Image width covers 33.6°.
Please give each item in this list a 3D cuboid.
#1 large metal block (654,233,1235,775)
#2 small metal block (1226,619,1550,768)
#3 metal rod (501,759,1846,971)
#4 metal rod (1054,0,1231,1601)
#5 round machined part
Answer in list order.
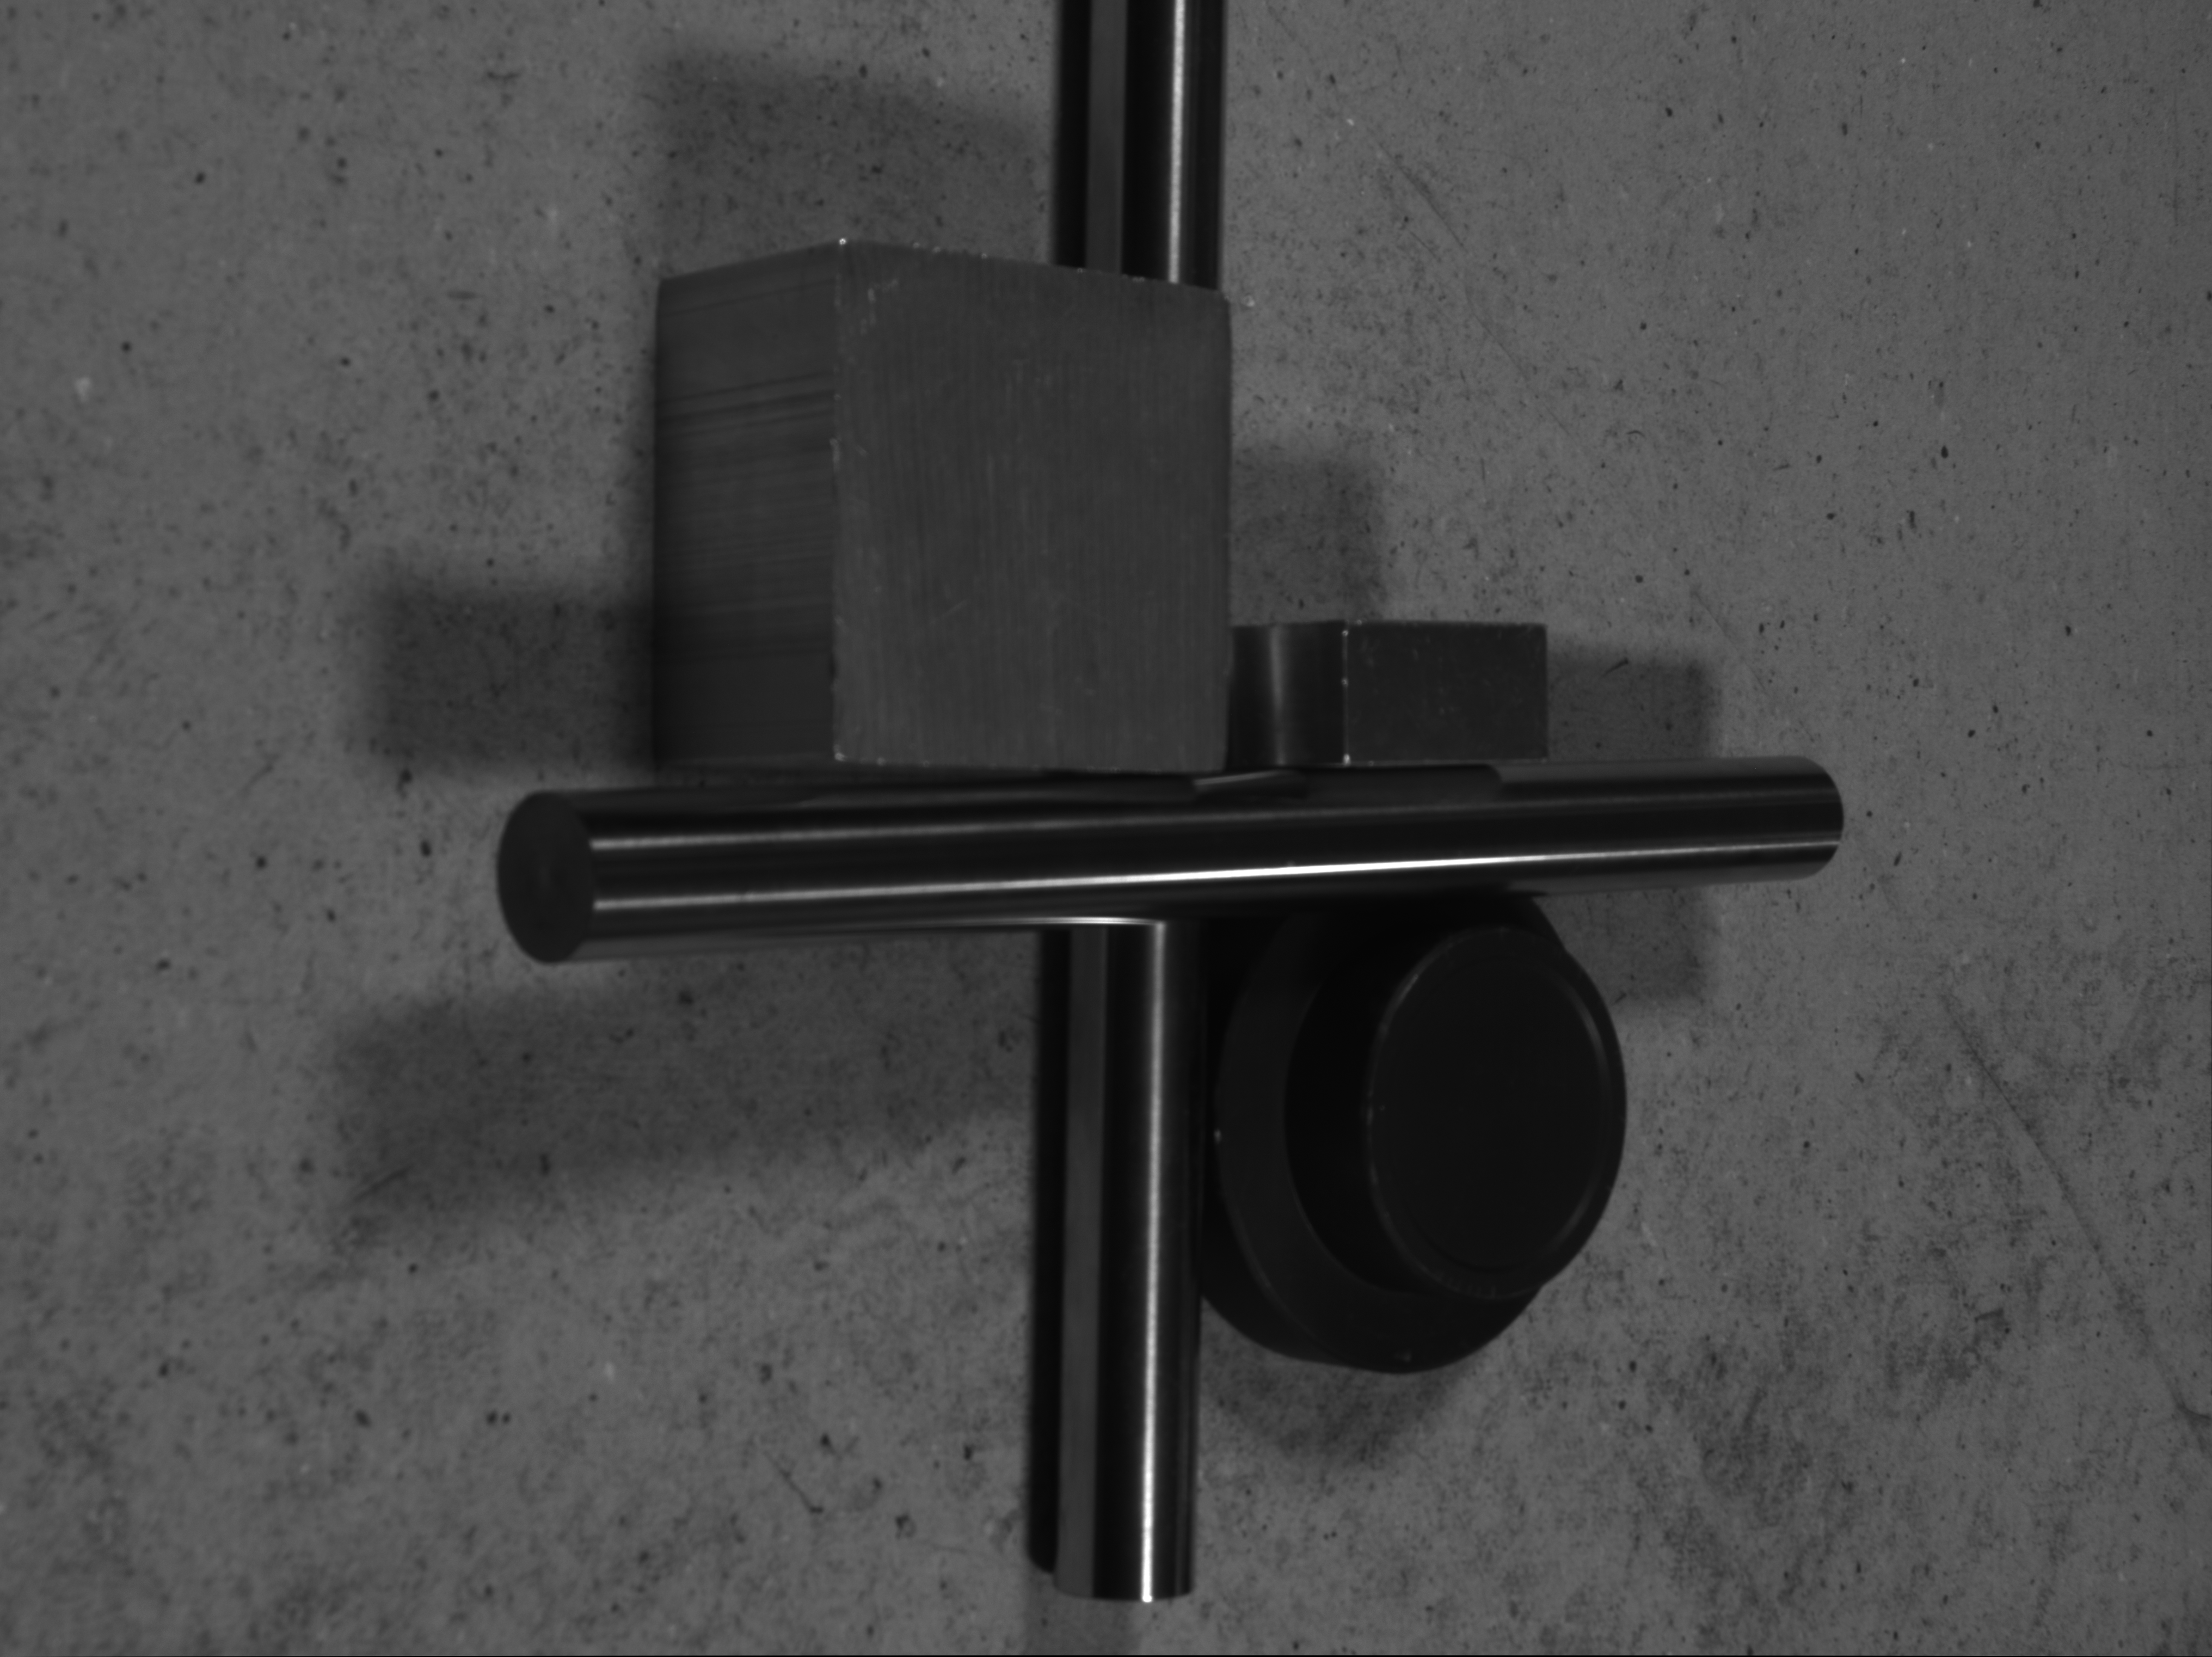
[{"bbox_3d":[-0.026,-0.049,0.599,0.080,0.050,0.080,1,89,-40],"label":"large metal block"},{"bbox_3d":[0.044,-0.024,0.658,0.050,0.050,0.025,-2,91,-40],"label":"small metal block"},{"bbox_3d":[0.029,0.003,0.629,0.301,0.025,0.025,-3,92,-44],"label":"metal rod"},{"bbox_3d":[0.007,-0.017,0.643,0.025,0.025,0.300,2,89,-40],"label":"metal rod"},{"bbox_3d":[0.058,0.052,0.674,0.098,0.042,0.098,0,90,-40],"label":"round machined part"}]
